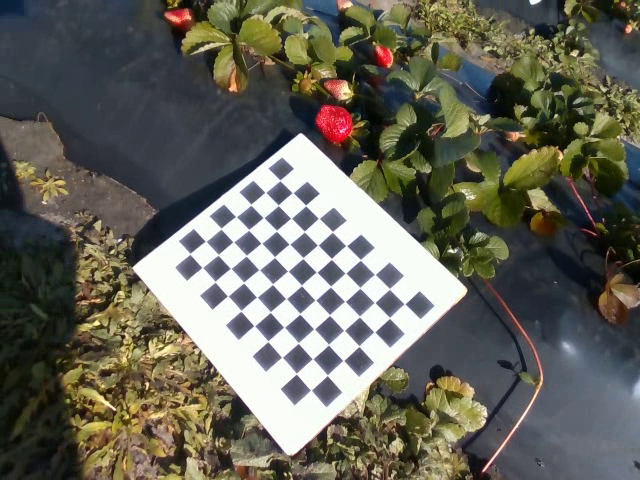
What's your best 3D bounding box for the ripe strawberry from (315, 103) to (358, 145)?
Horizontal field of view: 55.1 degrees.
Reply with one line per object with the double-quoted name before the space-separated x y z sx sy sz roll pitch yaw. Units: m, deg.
"ripe strawberry" 0.016 -0.150 0.777 0.058 0.066 0.061 -11 -23 28
